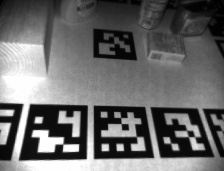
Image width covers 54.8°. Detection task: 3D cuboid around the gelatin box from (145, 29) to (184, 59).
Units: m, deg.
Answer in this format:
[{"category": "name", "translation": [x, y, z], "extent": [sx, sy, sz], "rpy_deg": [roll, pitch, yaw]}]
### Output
[{"category": "gelatin box", "translation": [0.128, -0.105, 0.525], "extent": [0.089, 0.030, 0.073], "rpy_deg": [9, 56, -1]}]

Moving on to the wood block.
[{"category": "wood block", "translation": [-0.180, -0.132, 0.456], "extent": [0.091, 0.090, 0.205], "rpy_deg": [3, 50, -9]}]

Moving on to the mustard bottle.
[{"category": "mustard bottle", "translation": [-0.082, -0.242, 0.495], "extent": [0.097, 0.192, 0.058], "rpy_deg": [-21, 59, -23]}]

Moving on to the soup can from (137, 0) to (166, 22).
[{"category": "soup can", "translation": [0.106, -0.224, 0.555], "extent": [0.068, 0.102, 0.067], "rpy_deg": [4, 56, -5]}]

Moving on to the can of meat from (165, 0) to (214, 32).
[{"category": "can of meat", "translation": [0.202, -0.192, 0.573], "extent": [0.102, 0.084, 0.057], "rpy_deg": [-9, 57, -19]}]
